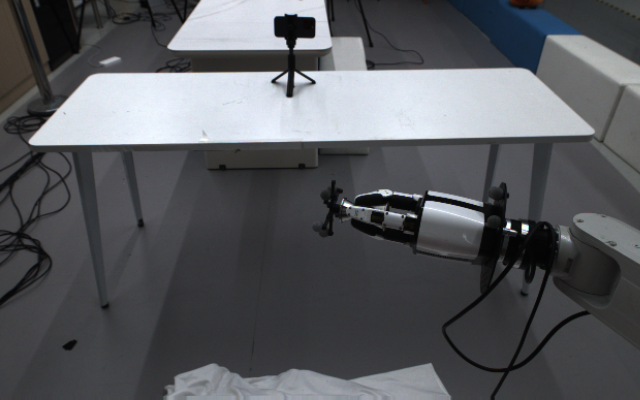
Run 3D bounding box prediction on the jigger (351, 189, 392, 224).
[{"bbox_3d":[0.073,0.016,0.723,0.071,0.043,0.043,8,35,16],"label":"jigger"}]
